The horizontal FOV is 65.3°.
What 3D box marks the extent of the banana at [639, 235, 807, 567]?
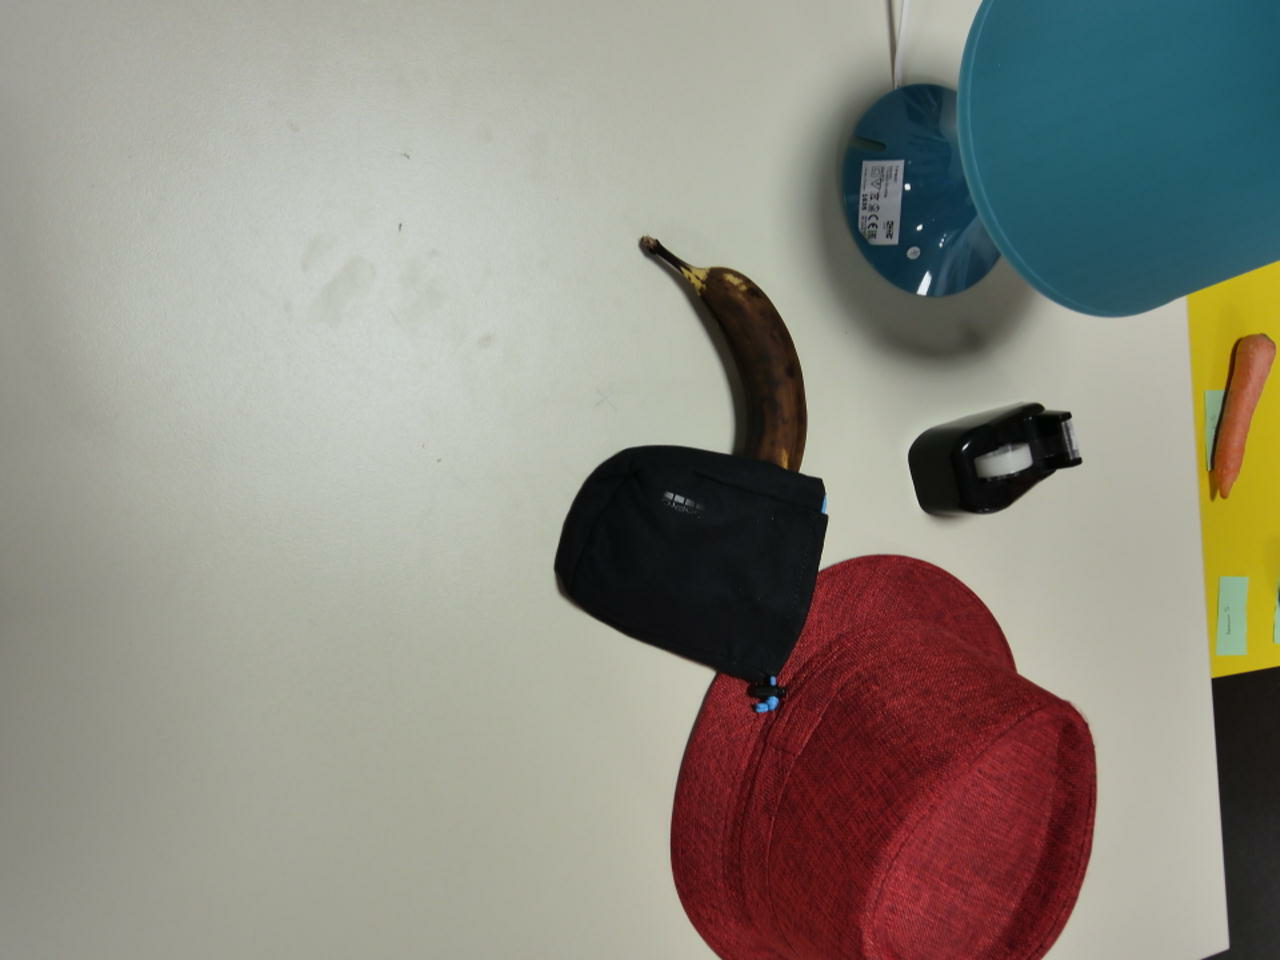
[{"bbox_3d":[0.054,-0.047,0.570,0.091,0.034,0.188,-6,93,-22],"label":"banana"}]
